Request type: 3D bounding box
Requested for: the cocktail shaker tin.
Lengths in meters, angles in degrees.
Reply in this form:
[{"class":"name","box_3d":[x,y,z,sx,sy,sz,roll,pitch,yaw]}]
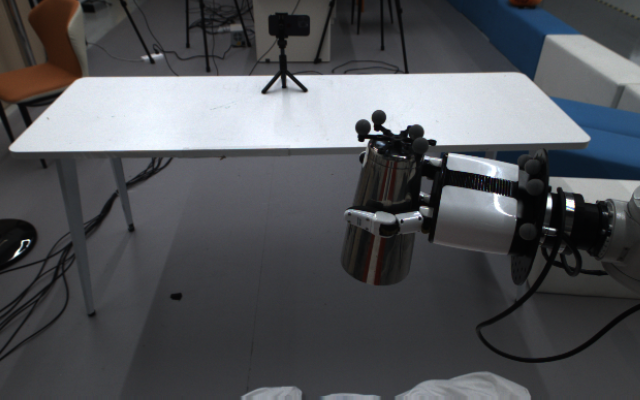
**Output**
[{"class":"cocktail shaker tin","box_3d":[0.080,0.010,0.595,0.093,0.170,0.093,4,32,-2]}]
